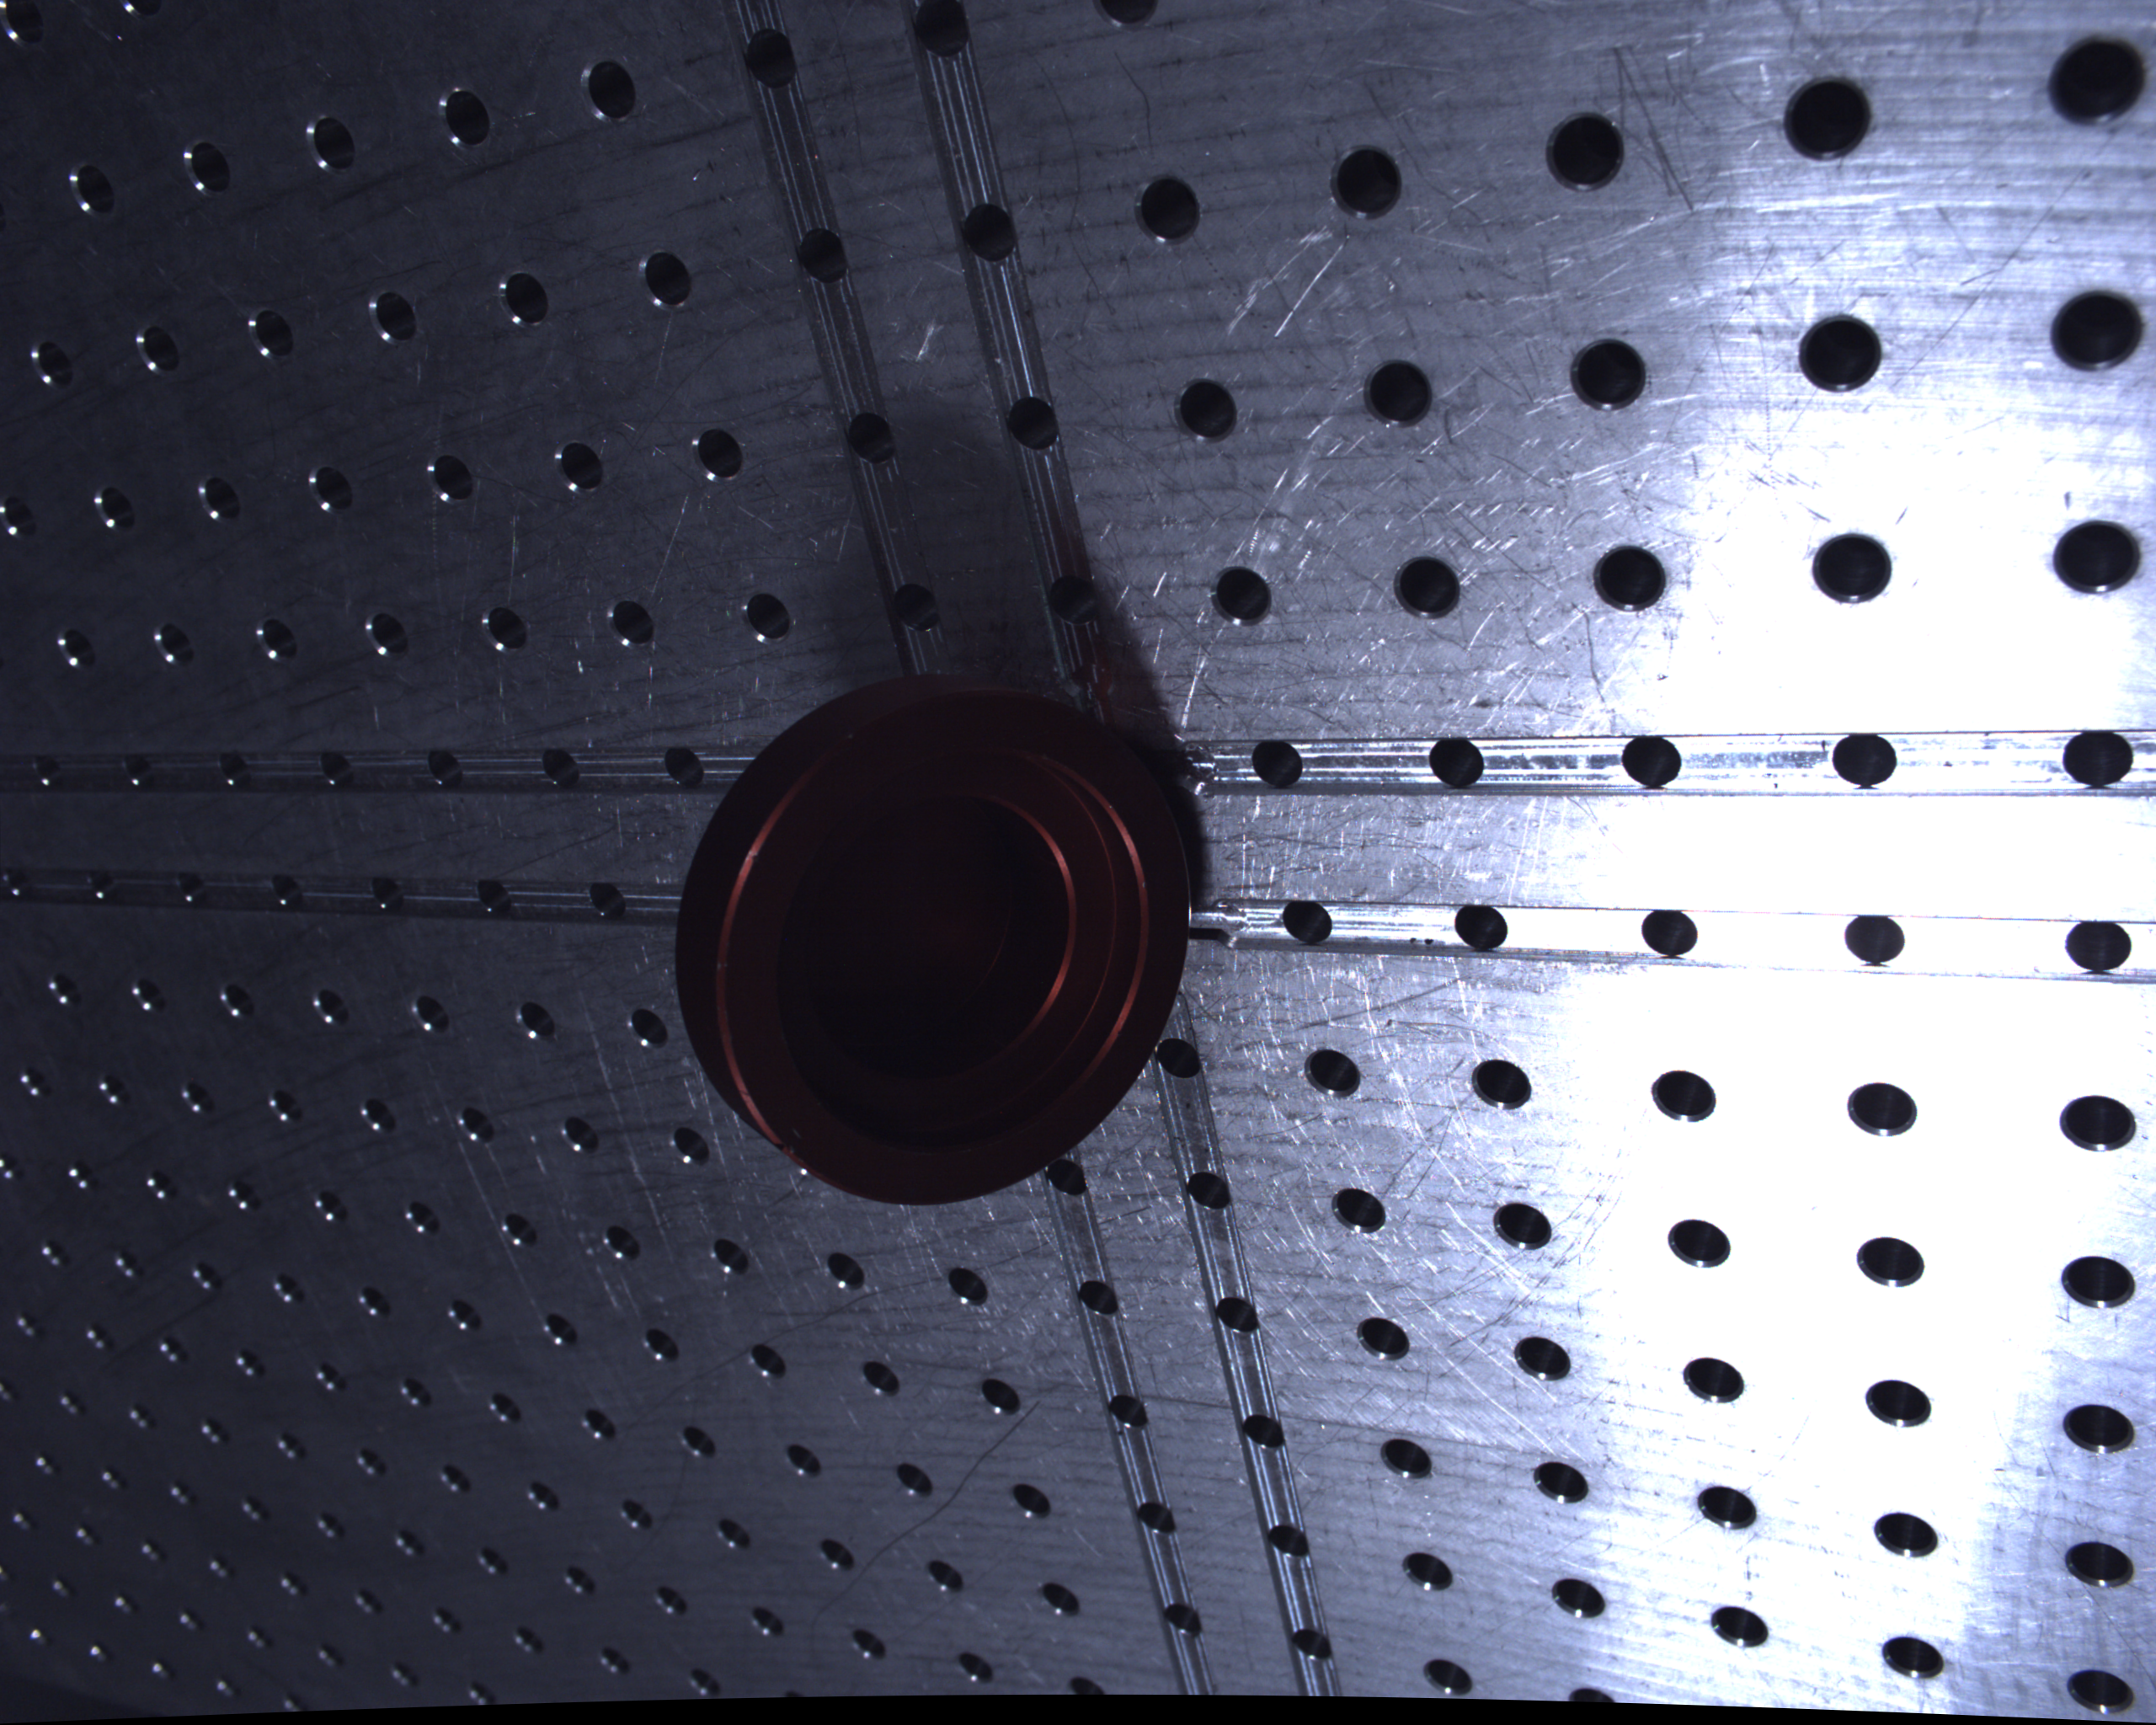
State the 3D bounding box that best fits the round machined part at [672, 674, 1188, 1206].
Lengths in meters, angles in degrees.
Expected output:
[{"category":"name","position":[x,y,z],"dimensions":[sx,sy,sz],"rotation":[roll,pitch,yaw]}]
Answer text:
[{"category":"round machined part","position":[-0.031,0.012,0.398],"dimensions":[0.042,0.099,0.097],"rotation":[22,134,55]}]
